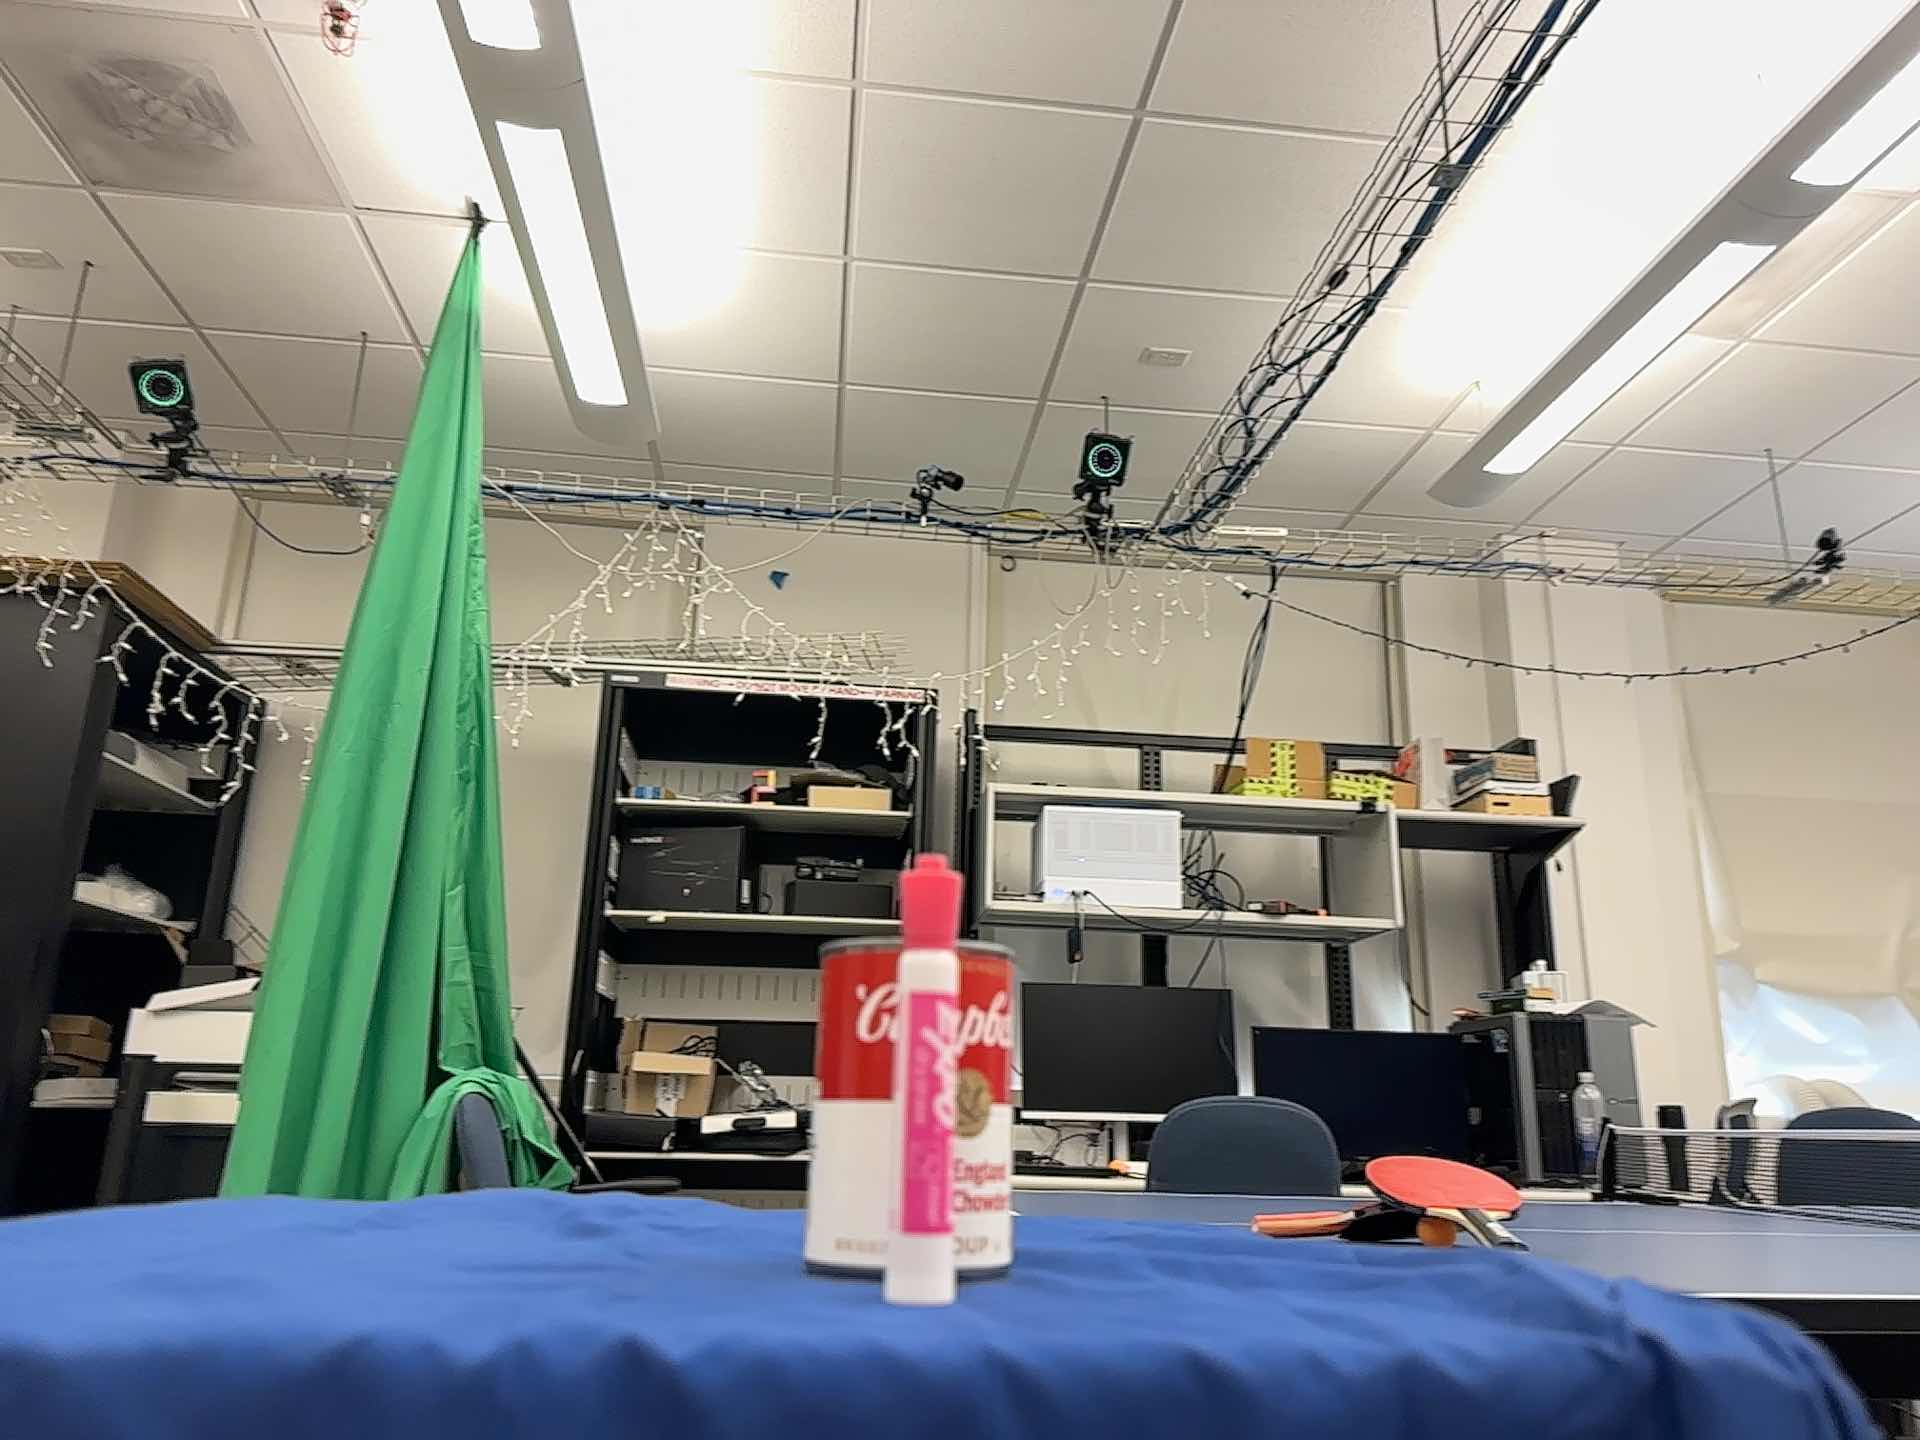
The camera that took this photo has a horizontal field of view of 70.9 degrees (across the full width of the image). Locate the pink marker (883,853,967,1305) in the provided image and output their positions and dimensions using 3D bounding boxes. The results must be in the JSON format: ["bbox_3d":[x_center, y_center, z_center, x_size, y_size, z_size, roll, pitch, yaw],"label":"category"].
[{"bbox_3d":[-0.010,0.098,0.378,0.020,0.121,0.020,2,-14,0],"label":"pink marker"}]

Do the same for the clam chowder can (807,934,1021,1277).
[{"bbox_3d":[-0.015,0.124,0.444,0.068,0.102,0.068,2,-13,0],"label":"clam chowder can"}]
